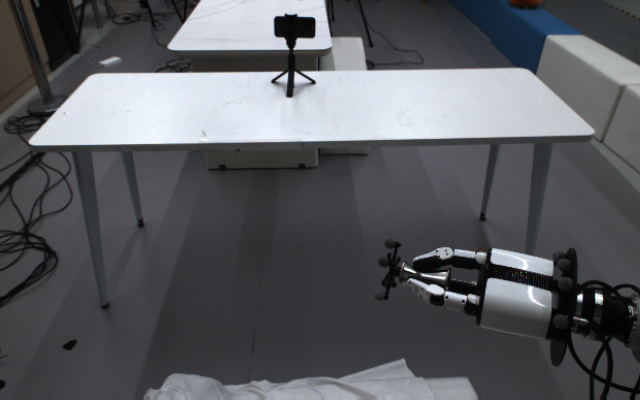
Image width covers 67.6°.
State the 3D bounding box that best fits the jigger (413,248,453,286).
[{"bbox_3d":[0.161,0.112,0.715,0.071,0.043,0.043,10,35,22],"label":"jigger"}]
